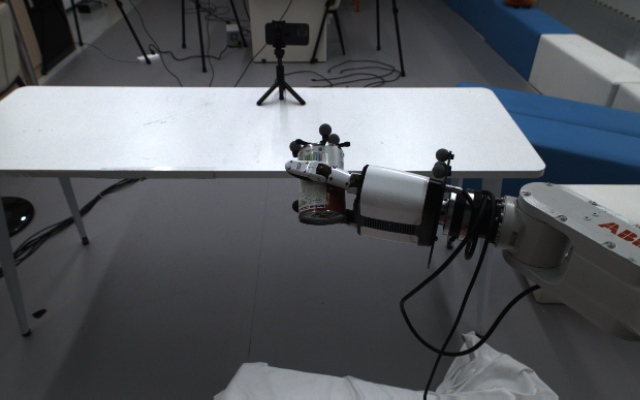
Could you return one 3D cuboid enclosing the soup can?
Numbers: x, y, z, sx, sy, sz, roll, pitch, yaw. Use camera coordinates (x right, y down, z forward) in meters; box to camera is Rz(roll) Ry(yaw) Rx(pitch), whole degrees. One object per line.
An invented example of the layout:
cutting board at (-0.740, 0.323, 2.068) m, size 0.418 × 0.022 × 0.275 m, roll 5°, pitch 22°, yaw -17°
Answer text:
soup can at (0.004, -0.022, 0.682) m, size 0.067 × 0.067 × 0.101 m, roll -1°, pitch 71°, yaw -5°
